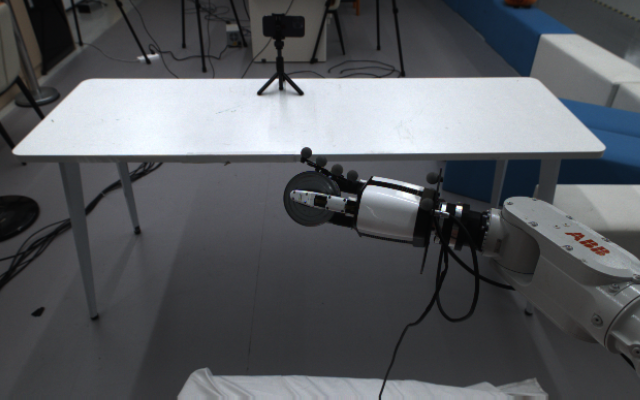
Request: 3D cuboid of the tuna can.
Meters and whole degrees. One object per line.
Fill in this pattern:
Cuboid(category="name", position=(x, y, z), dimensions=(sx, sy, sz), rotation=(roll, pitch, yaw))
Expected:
Cuboid(category="tuna can", position=(-0.010, -0.003, 0.749), dimensions=(0.085, 0.085, 0.034), rotation=(10, 5, 11))
